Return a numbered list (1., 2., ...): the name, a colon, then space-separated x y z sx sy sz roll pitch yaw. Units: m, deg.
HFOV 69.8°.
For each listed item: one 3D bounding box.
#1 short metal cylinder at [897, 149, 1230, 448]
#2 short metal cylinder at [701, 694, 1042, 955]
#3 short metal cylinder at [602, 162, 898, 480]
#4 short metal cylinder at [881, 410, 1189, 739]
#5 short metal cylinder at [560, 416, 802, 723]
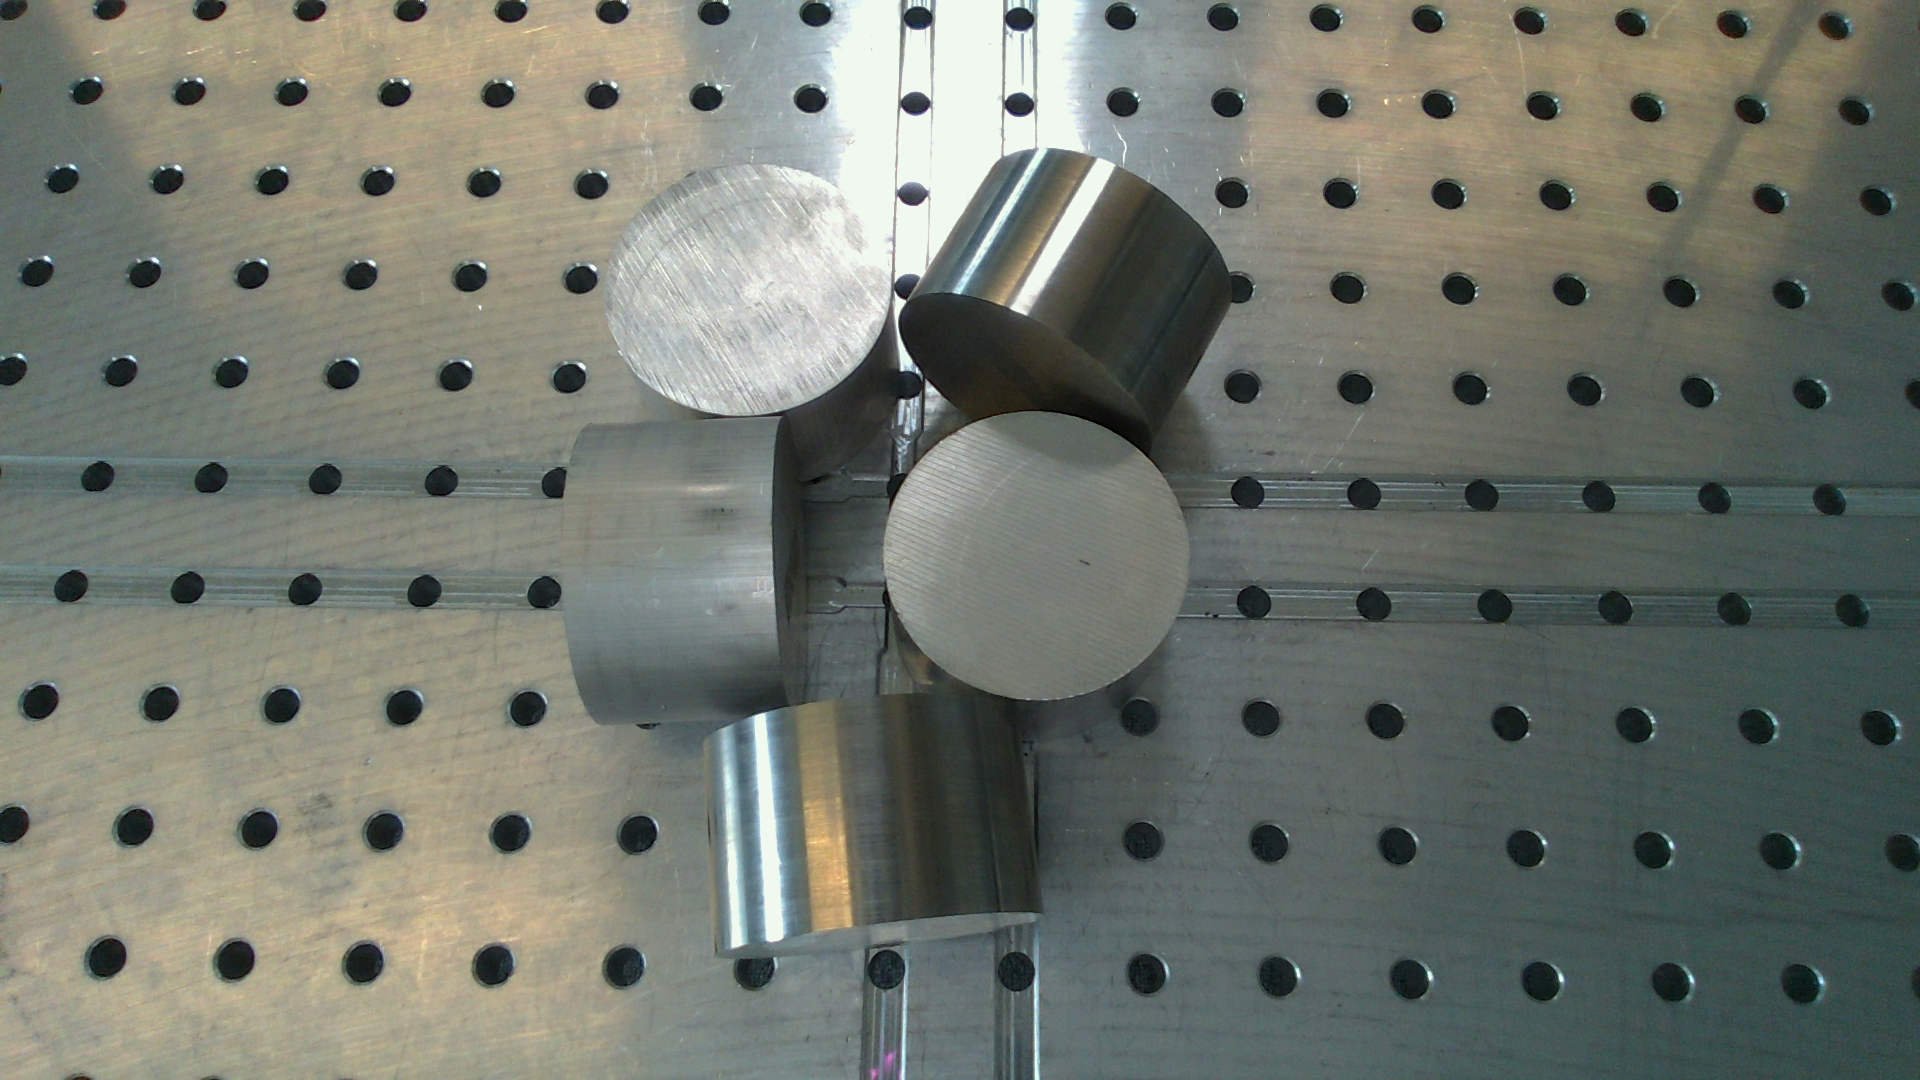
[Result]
1. short metal cylinder: 0.029 -0.064 0.391 0.080 0.080 0.050 27 72 9
2. short metal cylinder: -0.023 0.073 0.341 0.080 0.080 0.050 -6 70 -2
3. short metal cylinder: -0.059 -0.063 0.406 0.080 0.050 0.080 0 70 1
4. short metal cylinder: 0.019 0.011 0.380 0.080 0.050 0.080 0 70 0
5. short metal cylinder: -0.070 0.008 0.366 0.050 0.080 0.080 -2 70 -1
